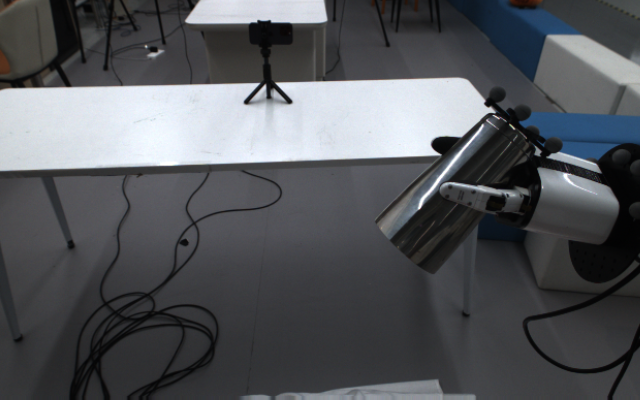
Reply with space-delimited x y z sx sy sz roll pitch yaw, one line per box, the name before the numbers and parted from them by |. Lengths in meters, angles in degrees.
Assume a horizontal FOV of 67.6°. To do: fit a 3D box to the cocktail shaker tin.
cocktail shaker tin | 0.153 -0.015 0.540 0.093 0.170 0.093 41 12 -11
